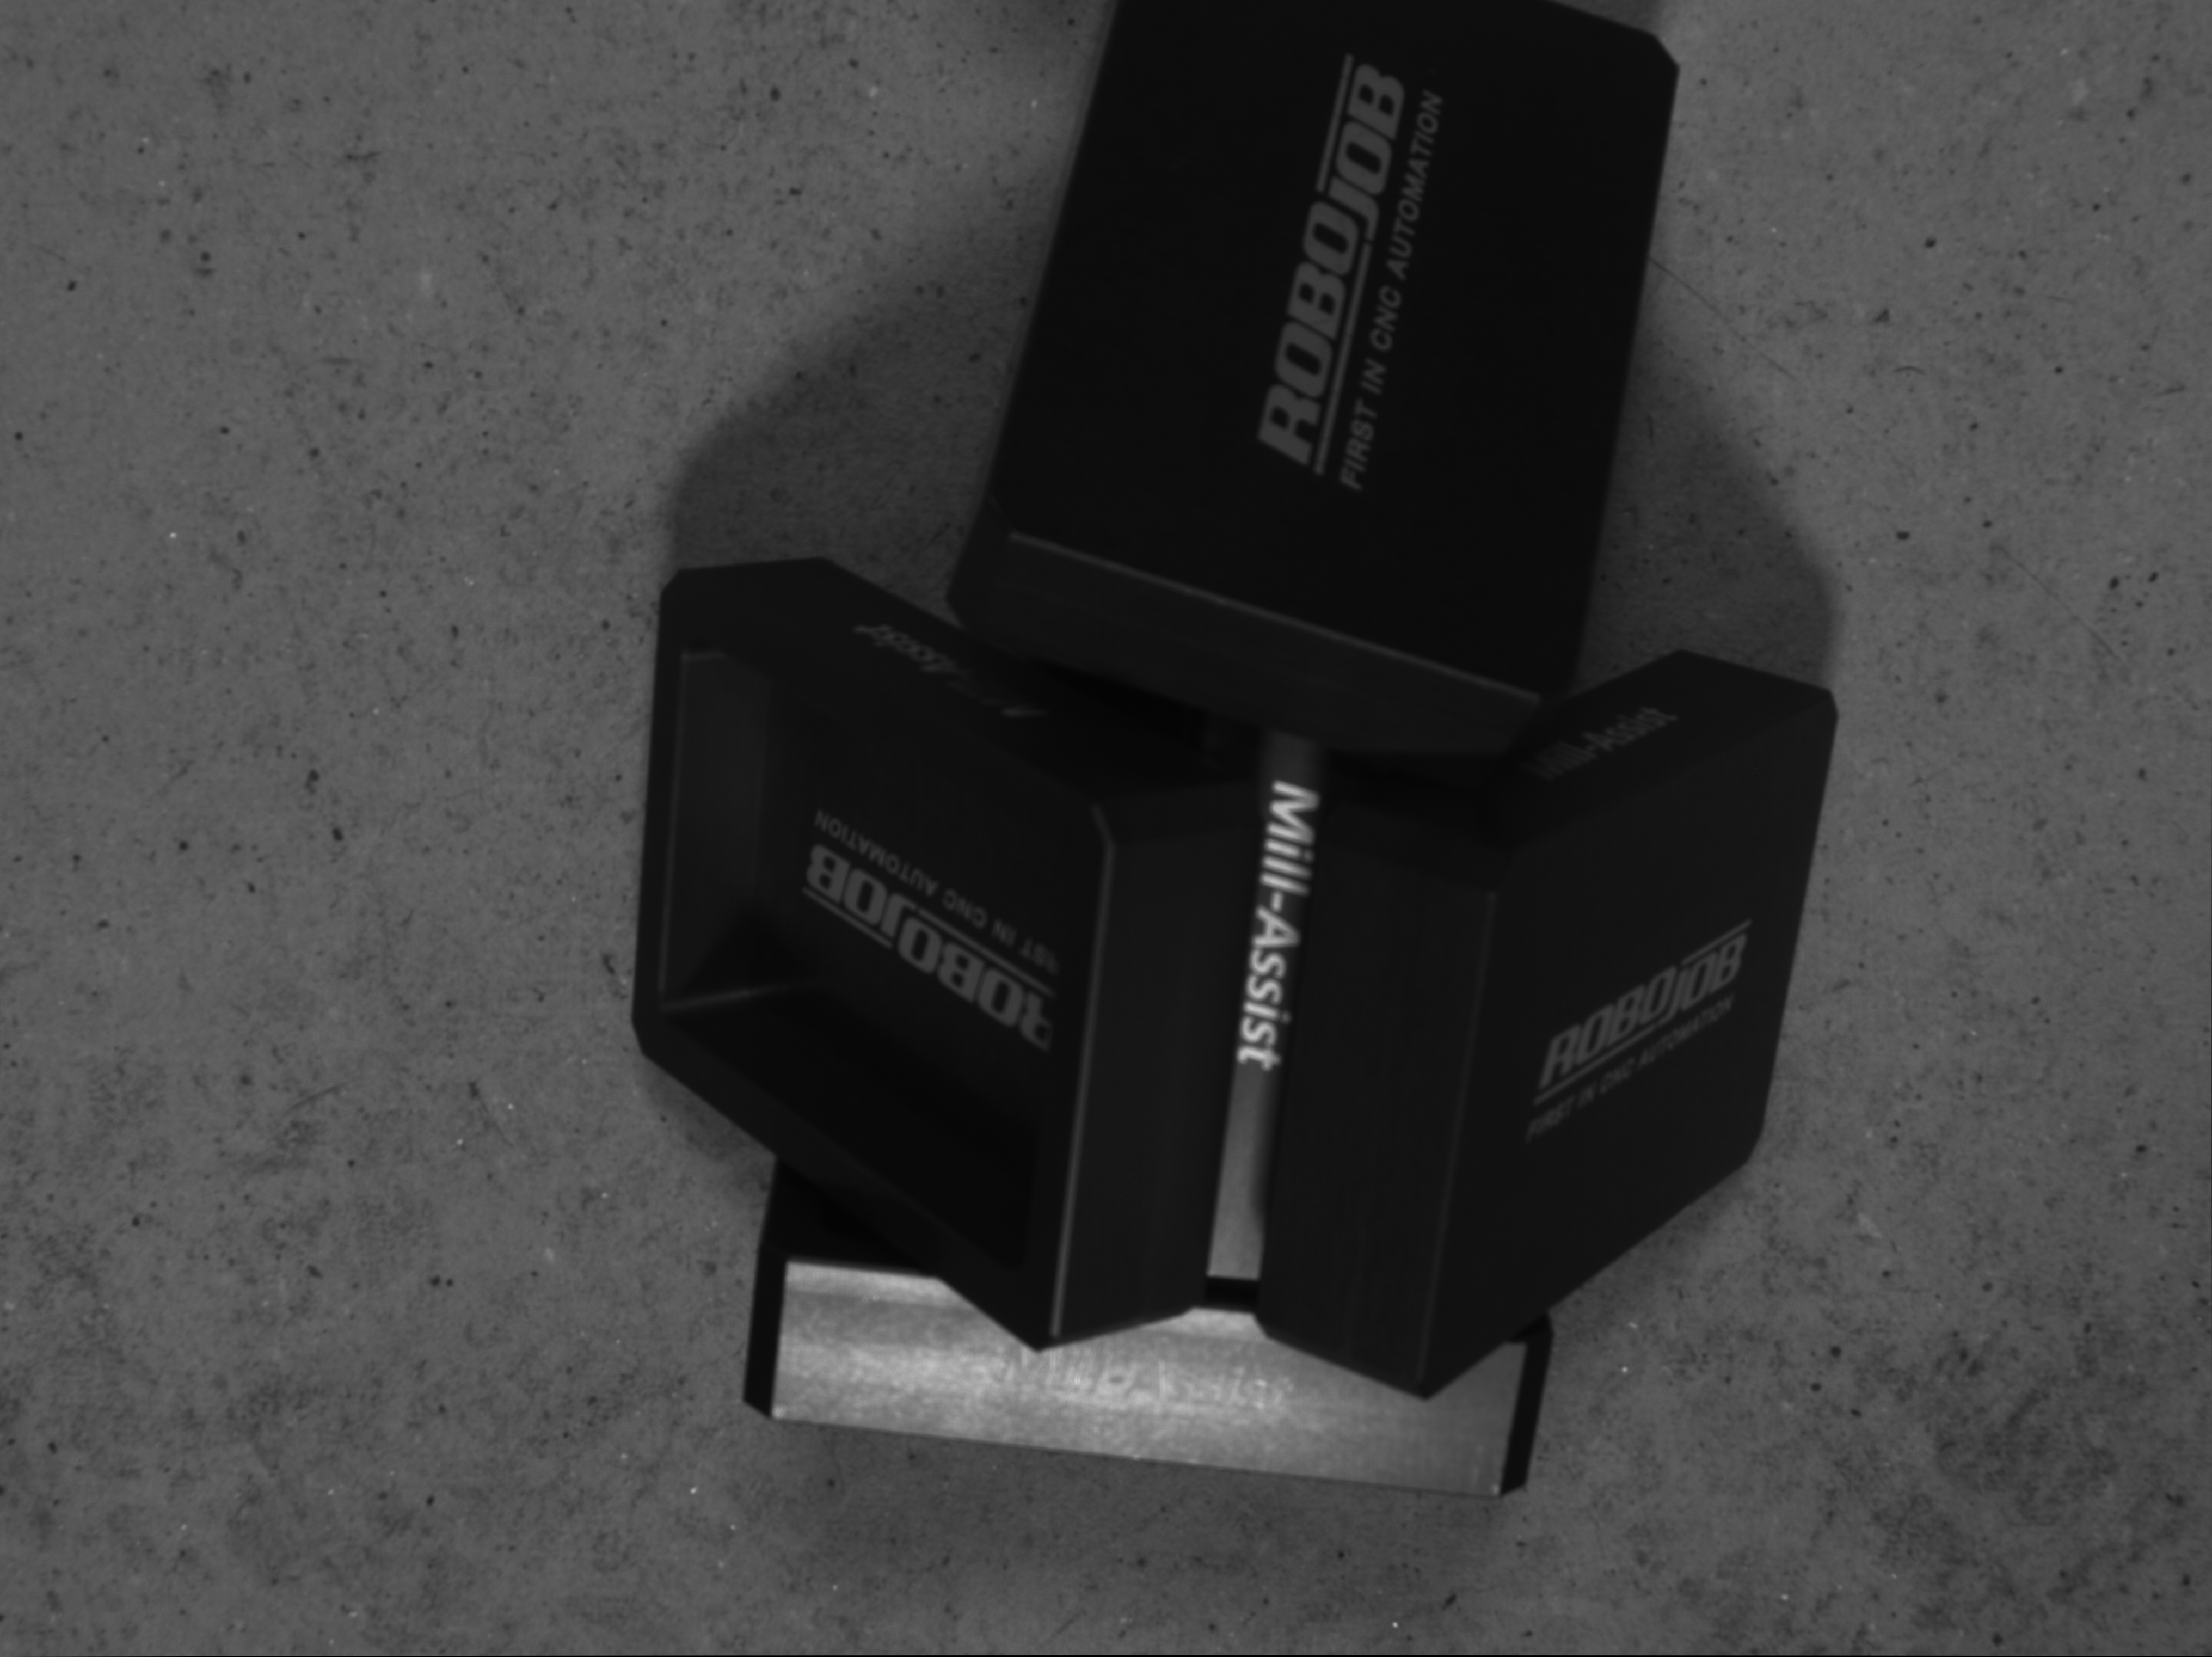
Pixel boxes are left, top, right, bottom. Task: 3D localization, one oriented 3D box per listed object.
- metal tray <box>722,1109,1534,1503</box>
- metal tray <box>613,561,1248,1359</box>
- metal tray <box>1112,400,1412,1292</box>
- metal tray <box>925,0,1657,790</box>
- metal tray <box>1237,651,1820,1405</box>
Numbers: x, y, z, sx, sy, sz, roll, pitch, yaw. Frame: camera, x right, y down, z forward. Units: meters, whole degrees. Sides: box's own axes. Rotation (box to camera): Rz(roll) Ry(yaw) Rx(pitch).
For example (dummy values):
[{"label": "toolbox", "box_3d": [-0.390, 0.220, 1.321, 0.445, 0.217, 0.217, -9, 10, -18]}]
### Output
[{"label": "metal tray", "box_3d": [0.003, 0.075, 0.635, 0.130, 0.090, 0.030, 7, 110, -3]}, {"label": "metal tray", "box_3d": [-0.033, 0.017, 0.597, 0.030, 0.130, 0.090, -9, 115, -36]}, {"label": "metal tray", "box_3d": [0.023, 0.000, 0.609, 0.030, 0.090, 0.130, 7, 110, -3]}, {"label": "metal tray", "box_3d": [0.031, -0.078, 0.566, 0.090, 0.130, 0.030, 17, 150, -7]}, {"label": "metal tray", "box_3d": [0.072, 0.029, 0.601, 0.030, 0.130, 0.090, 18, 113, 29]}]
